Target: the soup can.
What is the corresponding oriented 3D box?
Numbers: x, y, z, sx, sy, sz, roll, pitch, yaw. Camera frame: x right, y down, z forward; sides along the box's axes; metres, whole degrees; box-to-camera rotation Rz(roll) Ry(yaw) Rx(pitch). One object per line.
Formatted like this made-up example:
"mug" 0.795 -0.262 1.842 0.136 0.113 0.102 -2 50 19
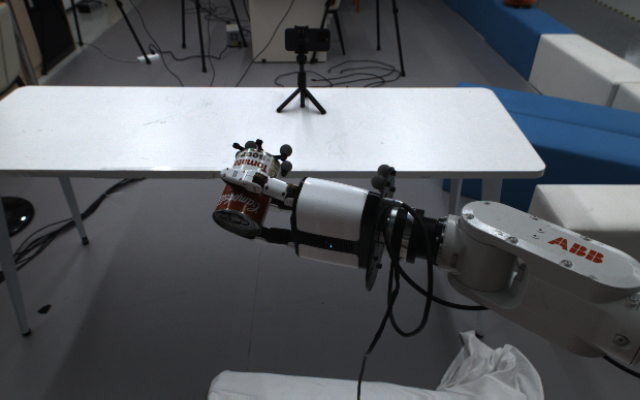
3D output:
"soup can" -0.097 -0.010 0.660 0.067 0.067 0.101 9 60 10
